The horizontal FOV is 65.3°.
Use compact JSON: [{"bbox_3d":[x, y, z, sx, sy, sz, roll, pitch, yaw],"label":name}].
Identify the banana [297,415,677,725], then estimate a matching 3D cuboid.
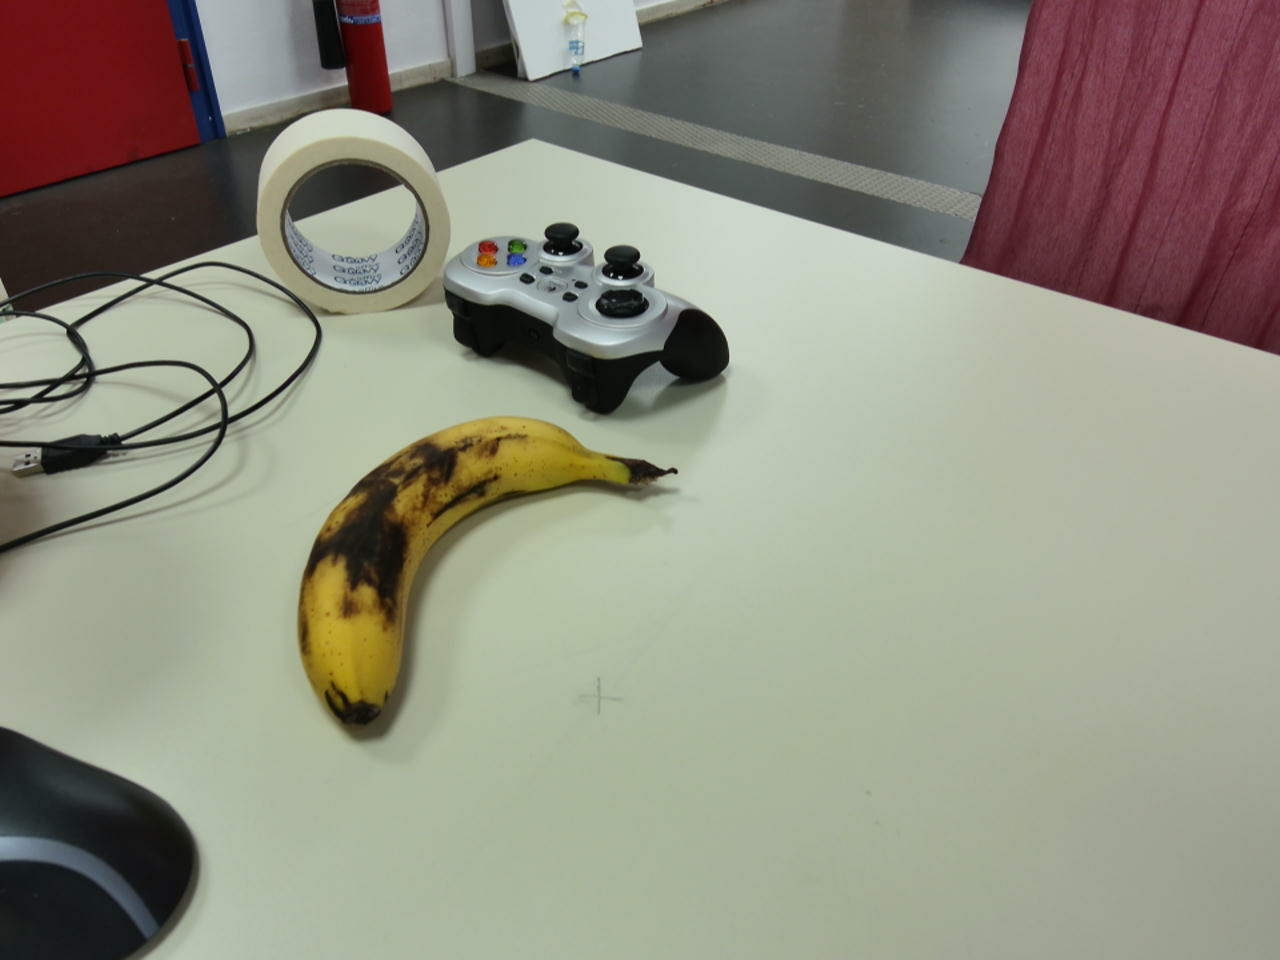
[{"bbox_3d":[-0.077,0.018,0.413,0.094,0.039,0.187,24,41,28],"label":"banana"}]
